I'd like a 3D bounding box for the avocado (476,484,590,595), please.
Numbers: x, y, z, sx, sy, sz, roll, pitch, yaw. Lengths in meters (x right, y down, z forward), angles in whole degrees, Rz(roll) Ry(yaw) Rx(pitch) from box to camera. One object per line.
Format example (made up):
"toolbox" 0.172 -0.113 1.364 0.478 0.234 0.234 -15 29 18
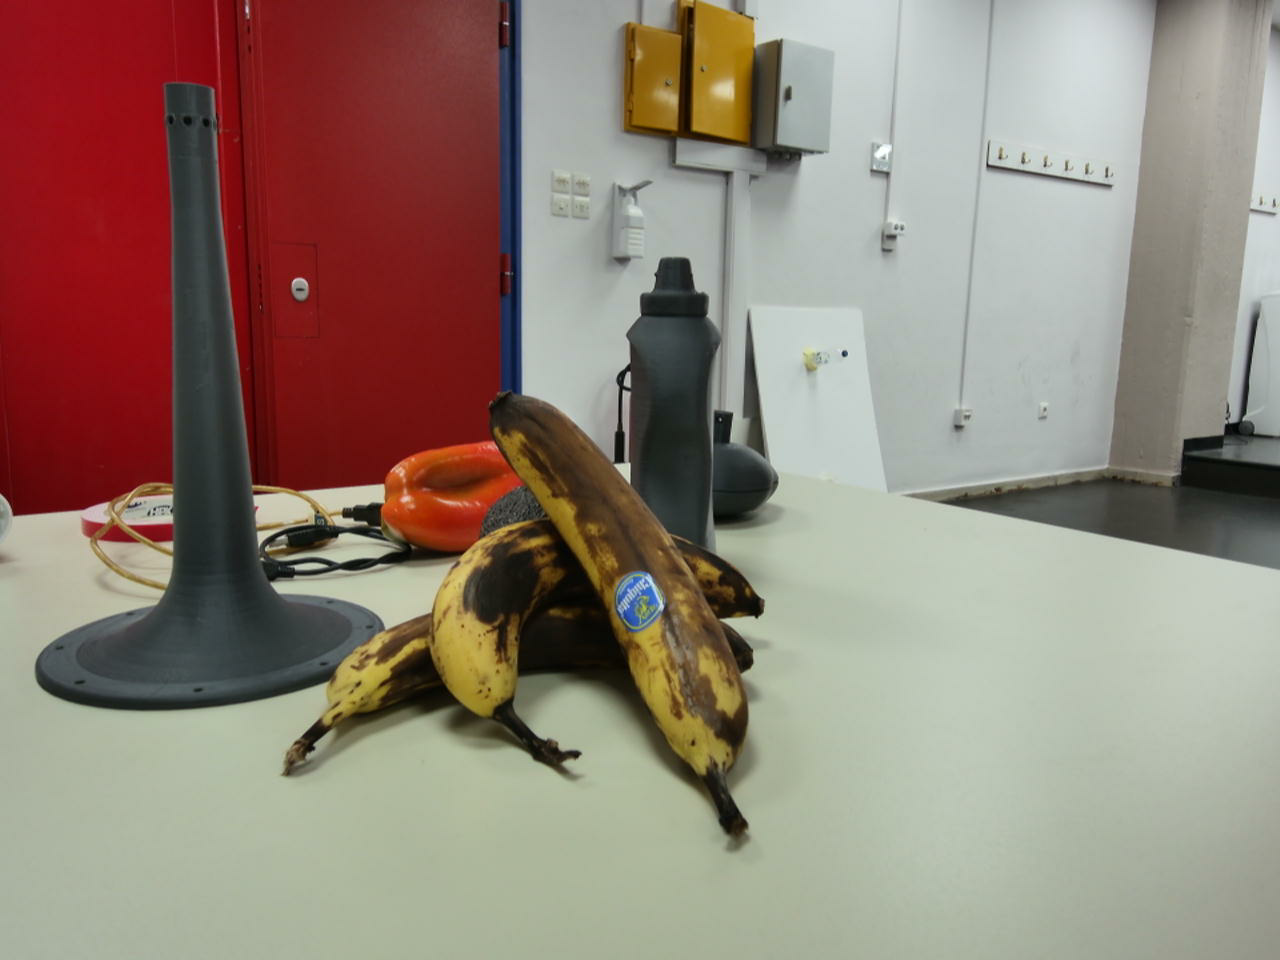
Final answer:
"avocado" -0.066 0.034 0.593 0.062 0.062 0.092 5 9 30
